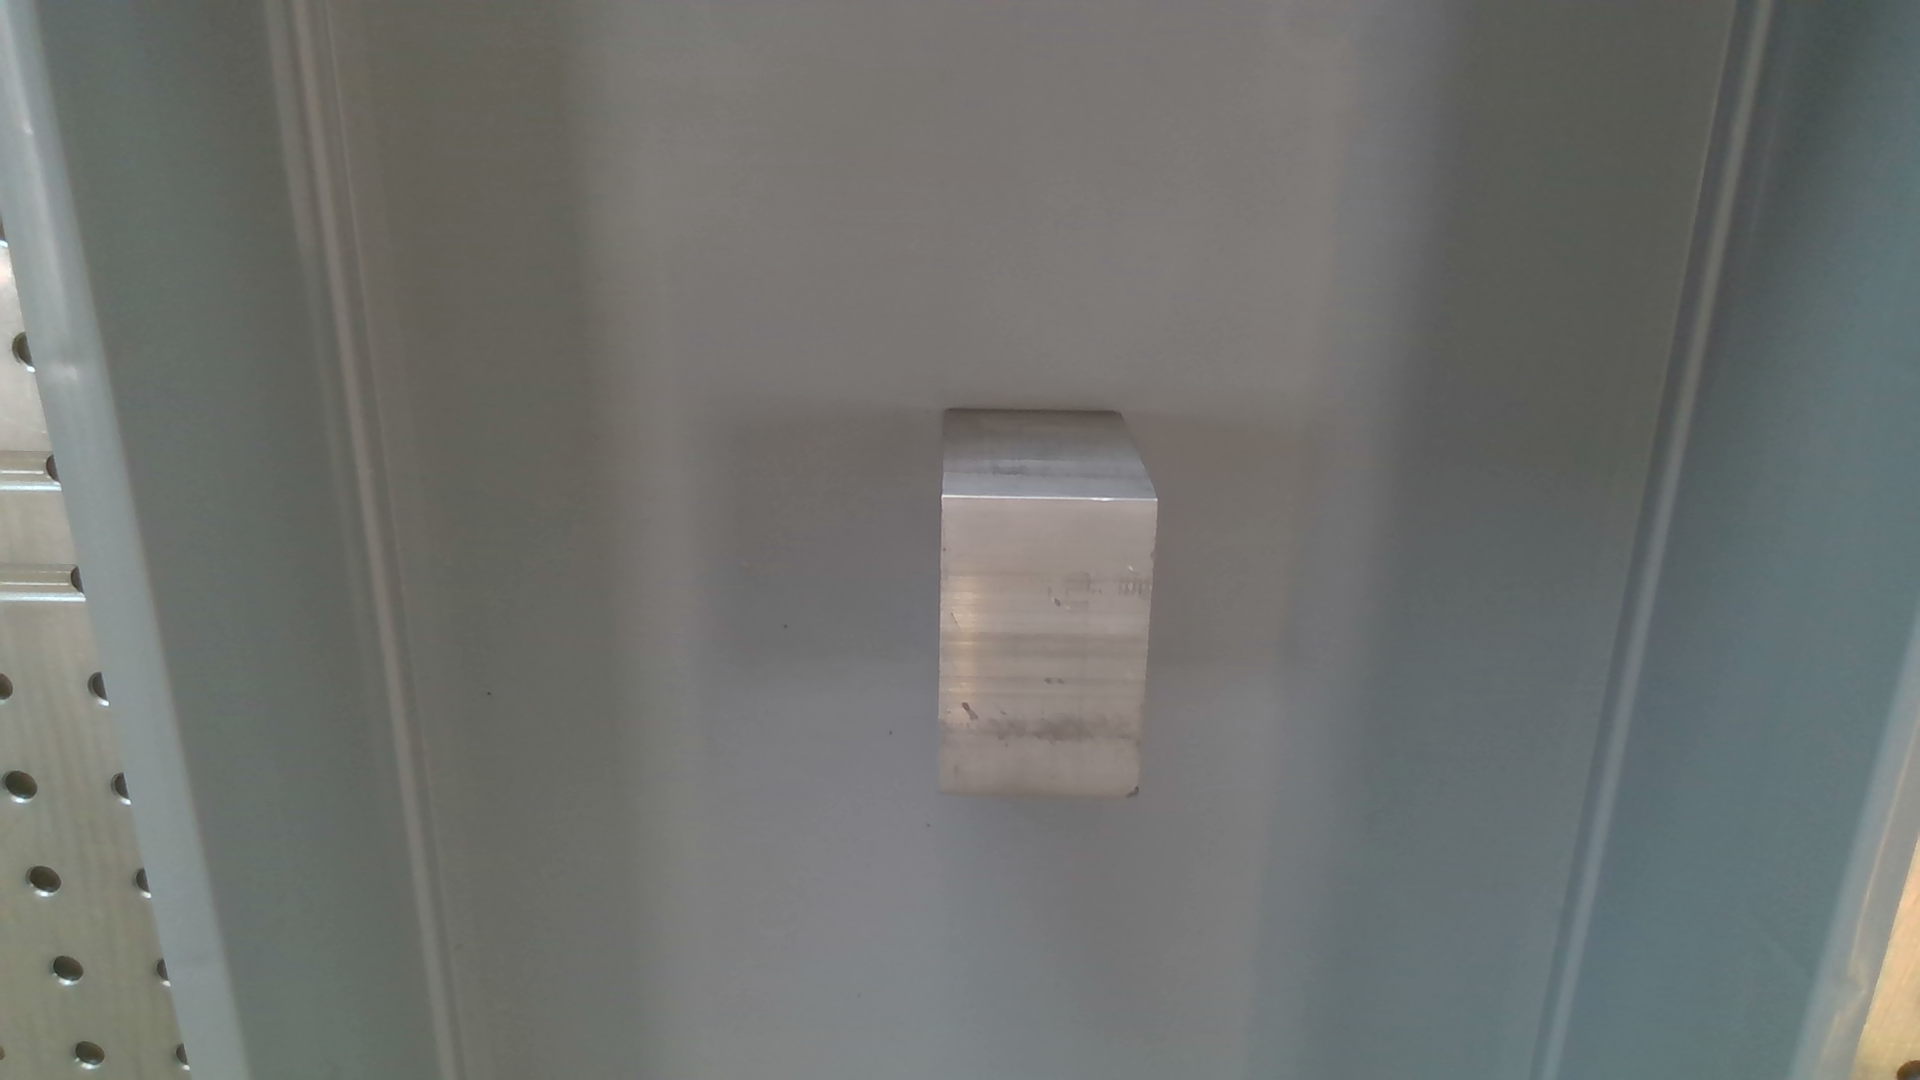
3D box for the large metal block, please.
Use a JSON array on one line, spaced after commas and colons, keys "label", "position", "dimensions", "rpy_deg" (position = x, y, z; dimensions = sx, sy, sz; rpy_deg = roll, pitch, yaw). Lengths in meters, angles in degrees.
[{"label": "large metal block", "position": [0.020, 0.013, 0.367], "dimensions": [0.050, 0.080, 0.080], "rpy_deg": [1, 110, 0]}]
